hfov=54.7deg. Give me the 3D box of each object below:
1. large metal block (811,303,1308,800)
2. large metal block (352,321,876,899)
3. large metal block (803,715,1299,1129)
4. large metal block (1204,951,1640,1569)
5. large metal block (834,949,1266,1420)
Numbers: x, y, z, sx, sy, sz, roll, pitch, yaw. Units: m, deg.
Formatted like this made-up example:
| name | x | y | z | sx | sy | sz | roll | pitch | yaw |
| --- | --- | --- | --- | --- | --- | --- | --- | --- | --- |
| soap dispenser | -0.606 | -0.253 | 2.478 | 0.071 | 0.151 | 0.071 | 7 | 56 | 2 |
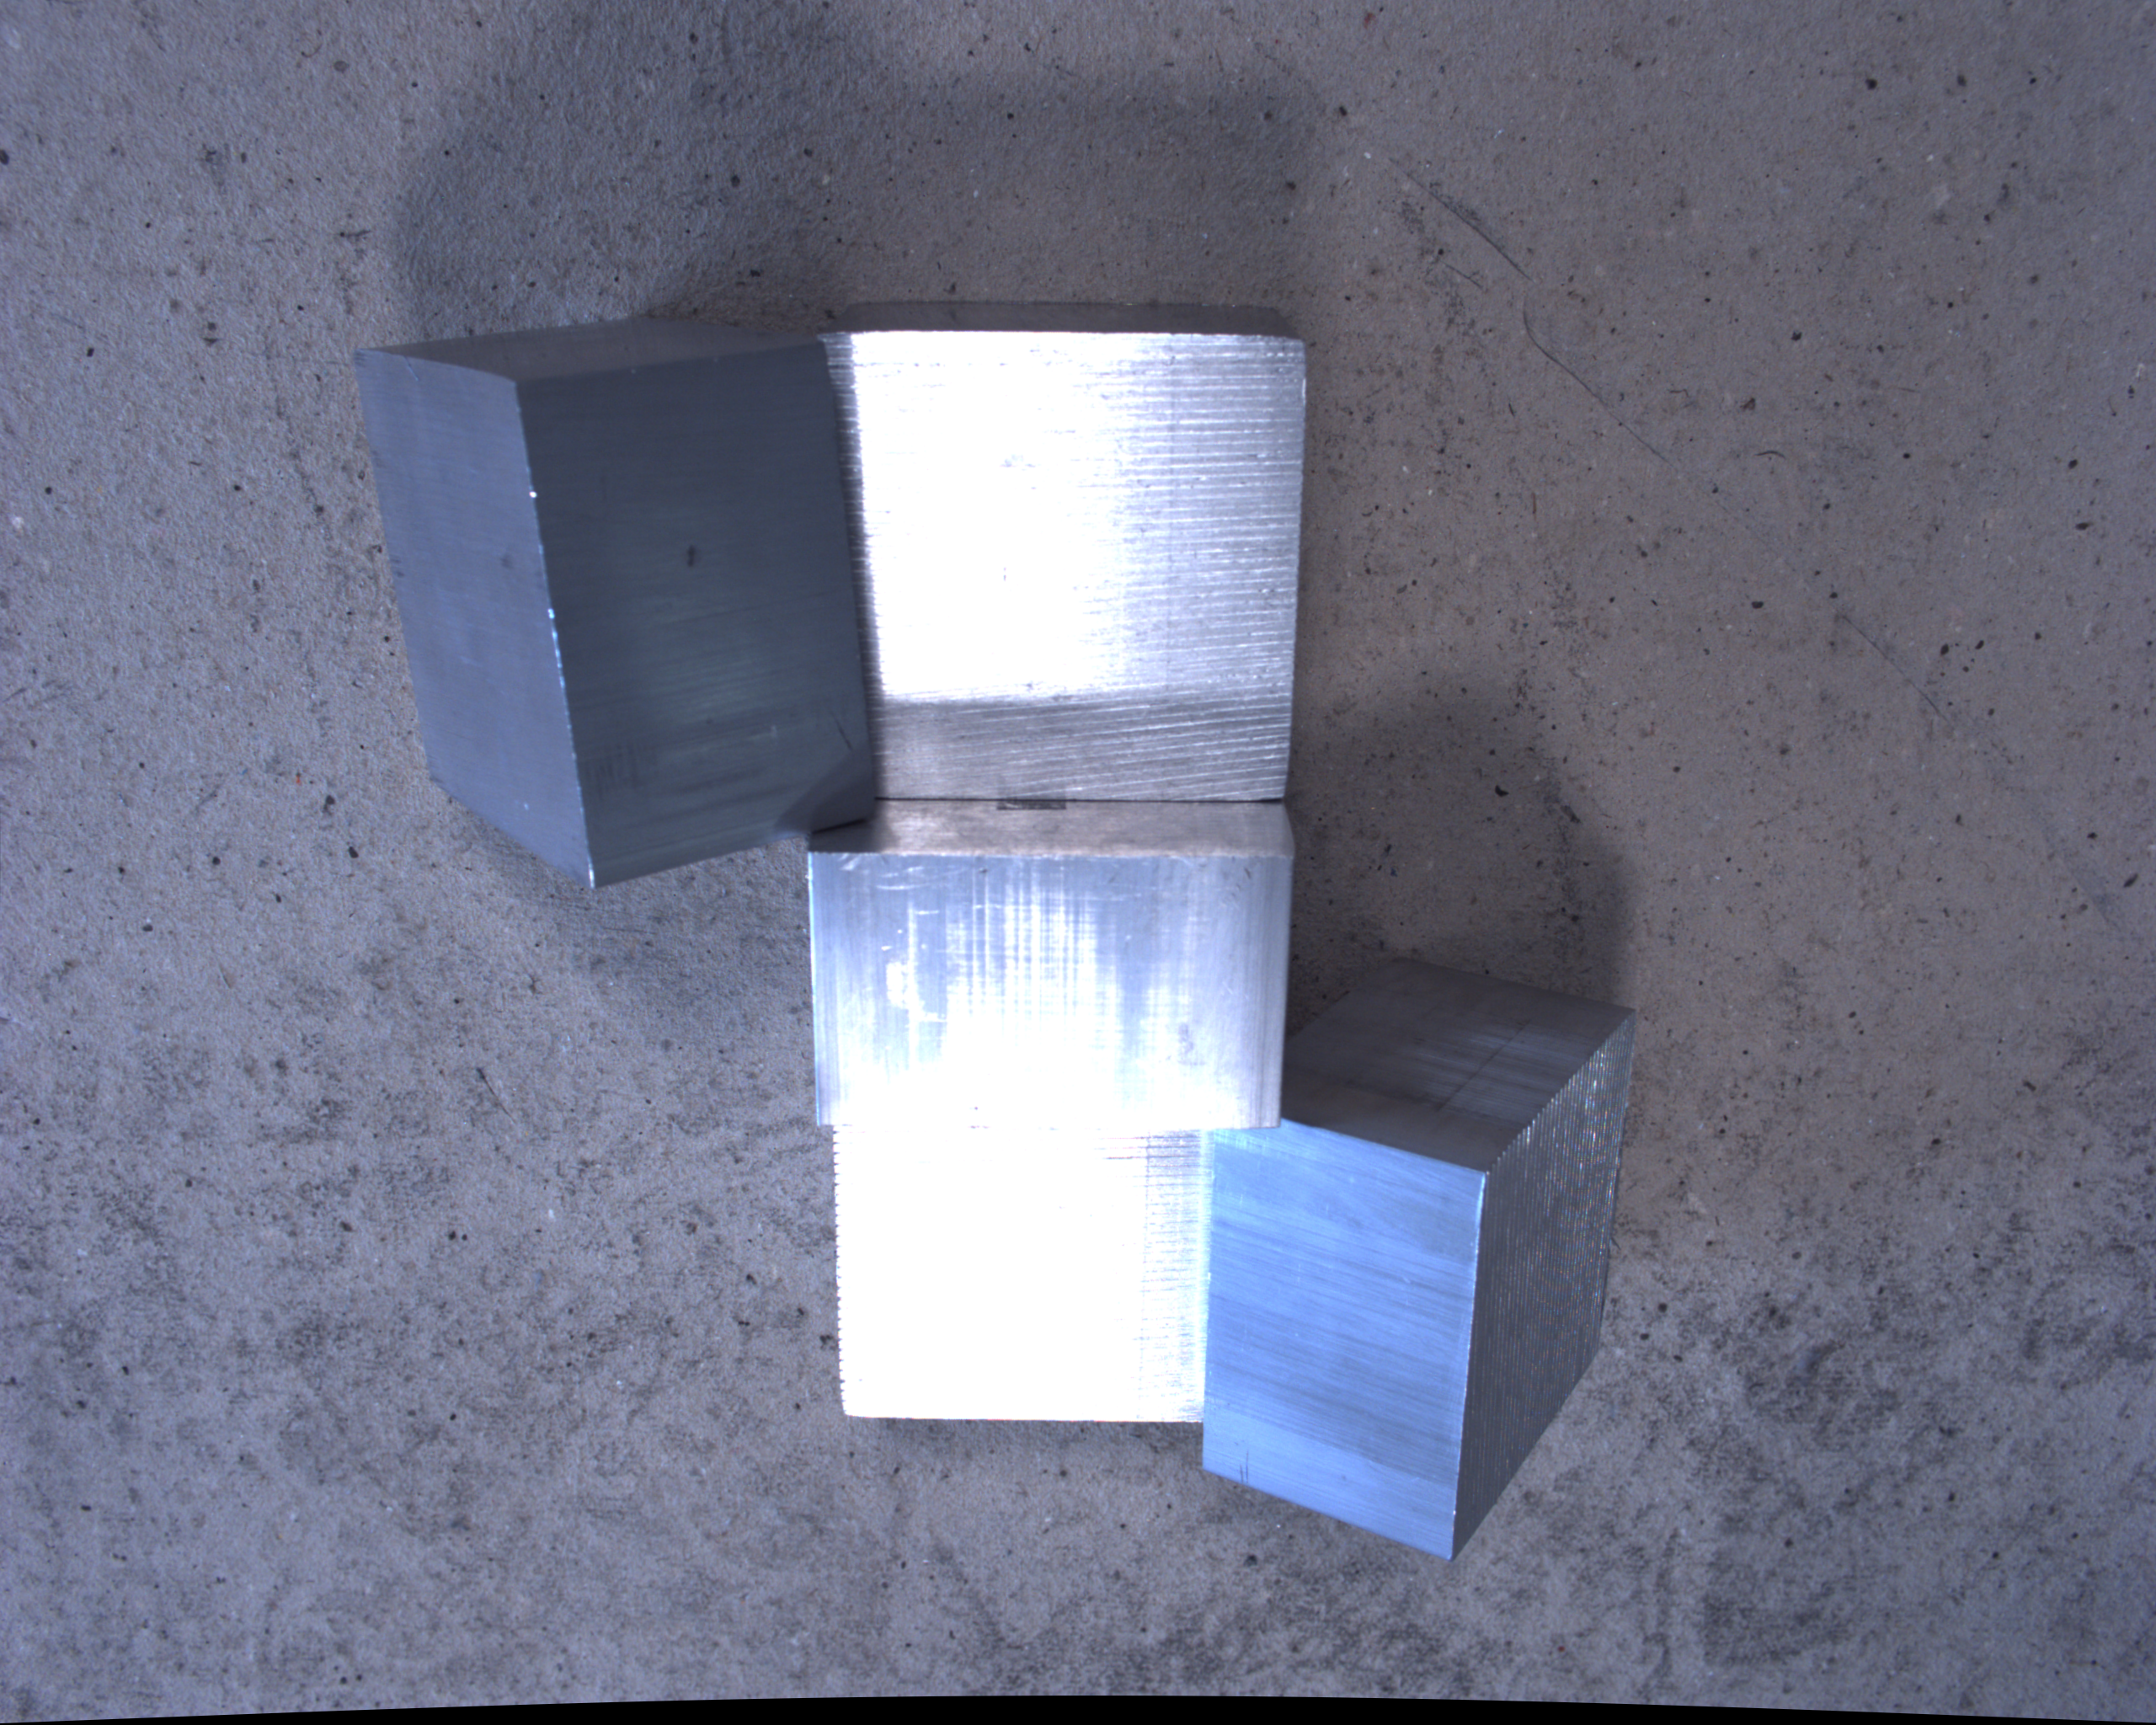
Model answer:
| name | x | y | z | sx | sy | sz | roll | pitch | yaw |
| --- | --- | --- | --- | --- | --- | --- | --- | --- | --- |
| large metal block | -0.003 | -0.057 | 0.375 | 0.081 | 0.050 | 0.079 | 1 | 110 | 0 |
| large metal block | -0.080 | -0.048 | 0.356 | 0.050 | 0.080 | 0.079 | -16 | 114 | -31 |
| large metal block | -0.005 | 0.008 | 0.385 | 0.081 | 0.080 | 0.050 | 0 | 110 | 0 |
| large metal block | 0.067 | 0.072 | 0.401 | 0.050 | 0.080 | 0.079 | 12 | 113 | 30 |
| large metal block | -0.006 | 0.064 | 0.421 | 0.081 | 0.050 | 0.079 | 1 | 111 | 0 |
